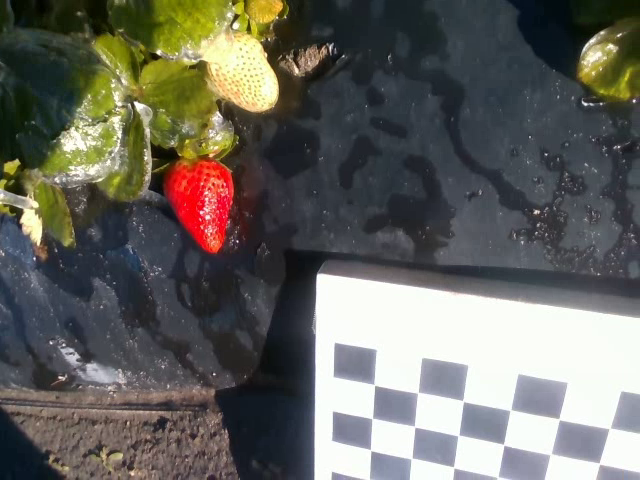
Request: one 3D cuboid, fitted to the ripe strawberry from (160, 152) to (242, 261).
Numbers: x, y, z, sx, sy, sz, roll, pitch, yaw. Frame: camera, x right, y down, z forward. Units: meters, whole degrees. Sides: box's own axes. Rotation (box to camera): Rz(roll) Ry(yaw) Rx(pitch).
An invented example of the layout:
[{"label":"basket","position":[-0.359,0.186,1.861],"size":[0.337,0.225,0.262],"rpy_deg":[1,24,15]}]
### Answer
[{"label":"ripe strawberry","position":[-0.066,-0.013,0.304],"size":[0.042,0.052,0.040],"rpy_deg":[-10,13,19]}]
